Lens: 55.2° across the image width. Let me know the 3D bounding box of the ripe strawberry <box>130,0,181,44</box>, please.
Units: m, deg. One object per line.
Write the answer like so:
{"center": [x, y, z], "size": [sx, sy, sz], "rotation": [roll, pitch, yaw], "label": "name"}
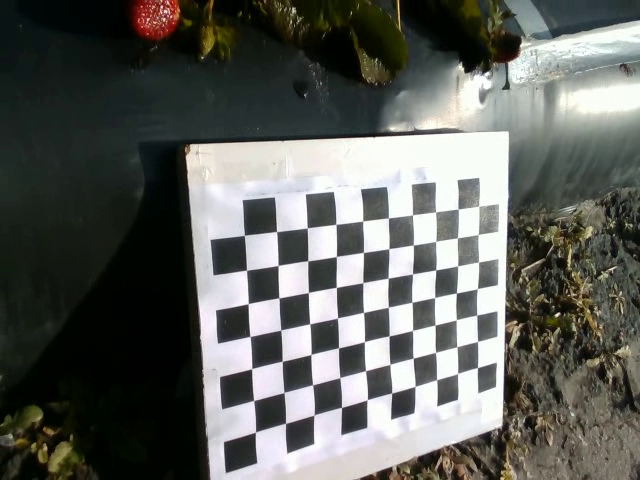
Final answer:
{"center": [-0.109, -0.151, 0.399], "size": [0.038, 0.053, 0.043], "rotation": [-31, -60, 29], "label": "ripe strawberry"}
